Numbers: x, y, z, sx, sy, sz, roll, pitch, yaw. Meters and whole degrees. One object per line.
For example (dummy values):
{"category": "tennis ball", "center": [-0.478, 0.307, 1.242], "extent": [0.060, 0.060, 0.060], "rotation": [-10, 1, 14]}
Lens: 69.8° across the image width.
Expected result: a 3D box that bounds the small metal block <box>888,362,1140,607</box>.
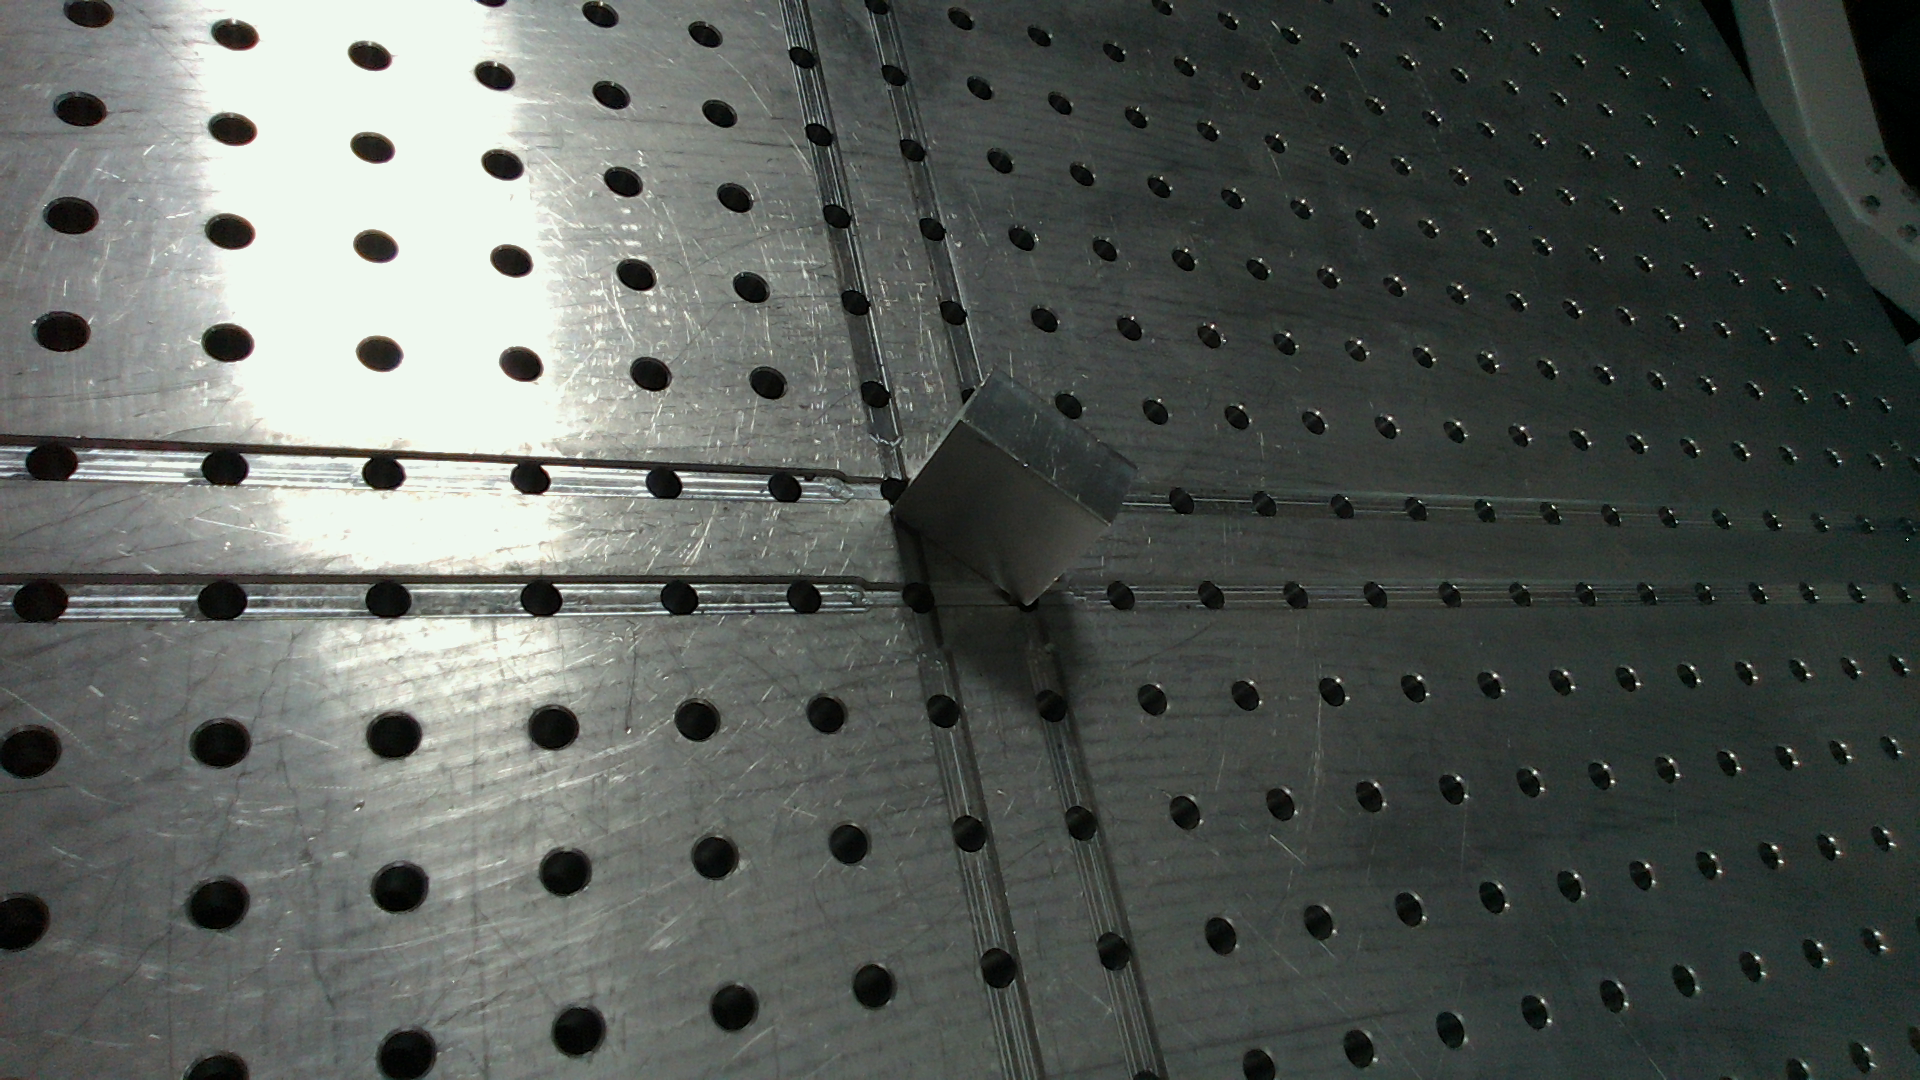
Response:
{"category": "small metal block", "center": [0.015, -0.015, 0.393], "extent": [0.050, 0.050, 0.025], "rotation": [35, 51, -5]}
